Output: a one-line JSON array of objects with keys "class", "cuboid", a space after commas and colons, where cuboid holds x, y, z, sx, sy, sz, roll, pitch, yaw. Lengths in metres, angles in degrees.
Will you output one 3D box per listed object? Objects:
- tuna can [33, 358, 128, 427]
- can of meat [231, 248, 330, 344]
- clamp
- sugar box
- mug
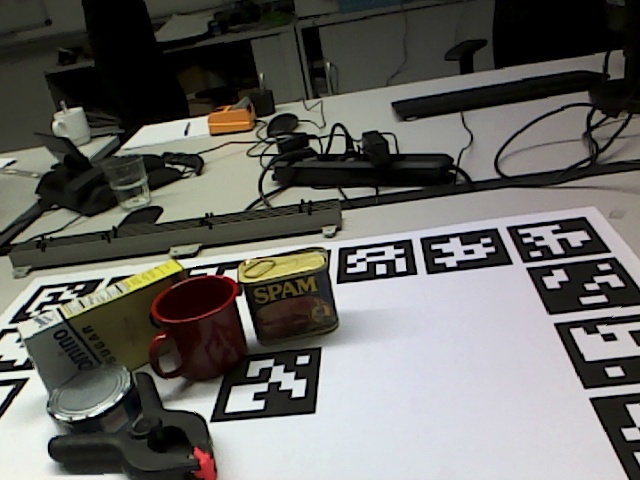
[{"class": "tuna can", "cuboid": [-0.239, 0.159, 0.621, 0.086, 0.033, 0.086, -9, 28, 4]}, {"class": "can of meat", "cuboid": [-0.042, 0.063, 0.696, 0.102, 0.083, 0.058, -9, 25, -1]}, {"class": "clamp", "cuboid": [-0.165, 0.181, 0.564, 0.166, 0.036, 0.121, 17, 33, 35]}, {"class": "sugar box", "cuboid": [-0.235, 0.098, 0.688, 0.176, 0.092, 0.045, -24, 28, -27]}, {"class": "mug", "cuboid": [-0.145, 0.092, 0.661, 0.094, 0.081, 0.117, 6, 33, 29]}]
